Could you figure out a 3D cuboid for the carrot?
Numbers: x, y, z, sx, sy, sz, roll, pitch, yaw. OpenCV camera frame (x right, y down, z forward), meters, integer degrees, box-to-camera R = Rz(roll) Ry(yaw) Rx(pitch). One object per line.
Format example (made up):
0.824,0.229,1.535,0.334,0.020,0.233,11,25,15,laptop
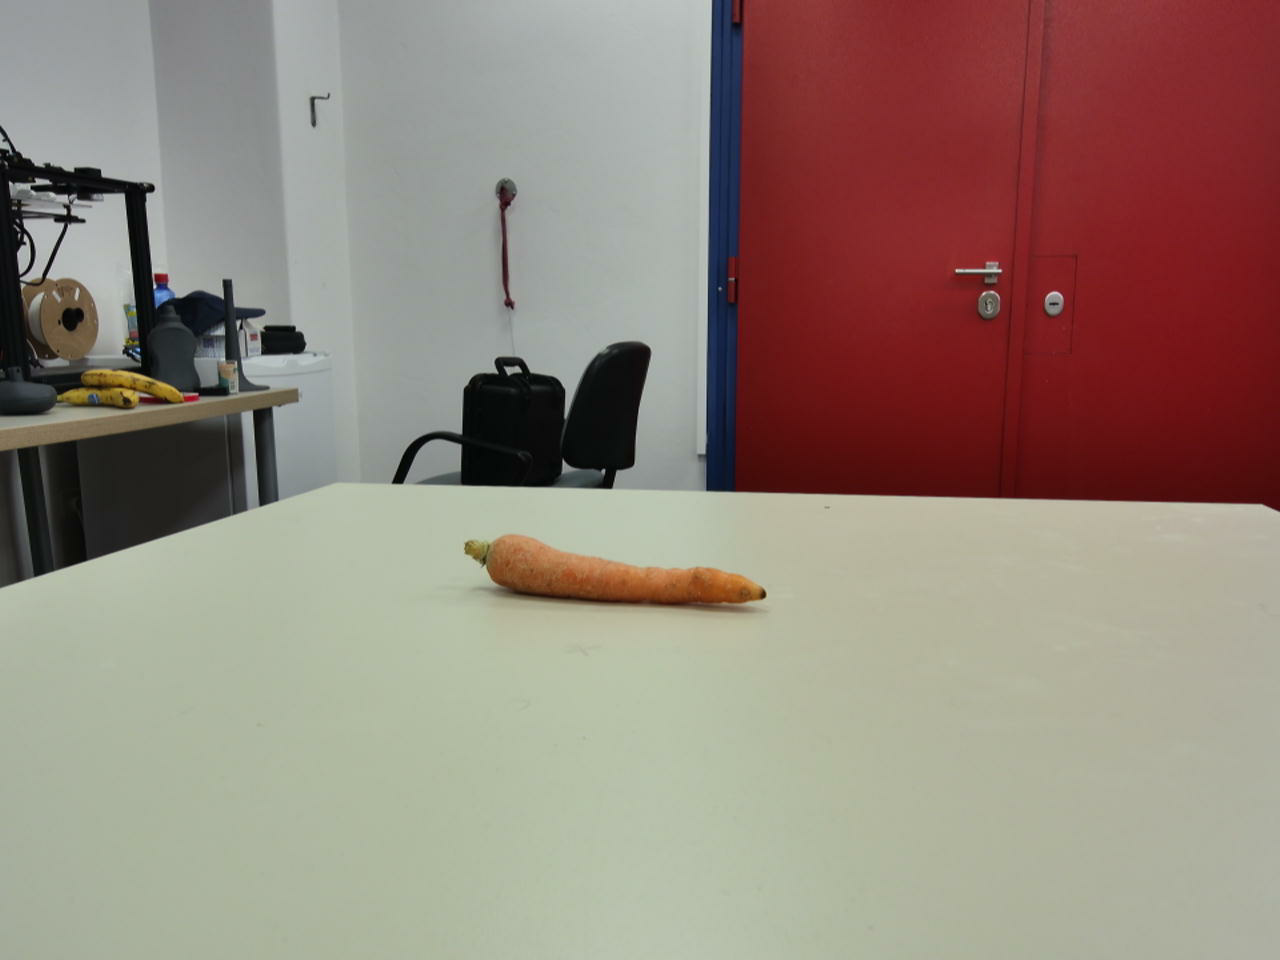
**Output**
-0.018,0.049,0.536,0.173,0.032,0.030,2,7,21,carrot
